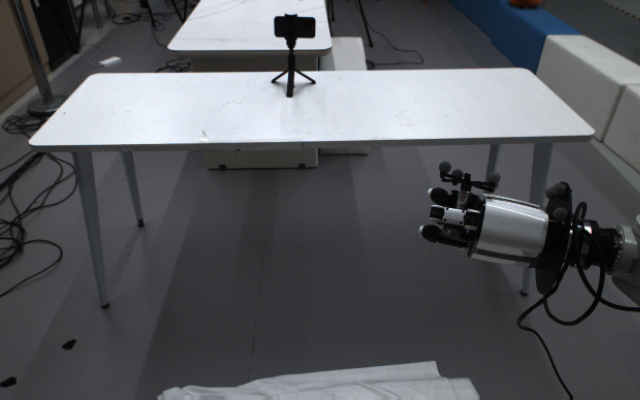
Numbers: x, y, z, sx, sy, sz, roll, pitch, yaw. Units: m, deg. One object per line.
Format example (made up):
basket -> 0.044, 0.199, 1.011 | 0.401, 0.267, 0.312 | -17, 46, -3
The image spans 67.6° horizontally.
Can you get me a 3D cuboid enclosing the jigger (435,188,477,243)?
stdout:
jigger -> 0.206, 0.023, 0.708 | 0.043, 0.071, 0.043 | 16, -7, 2
